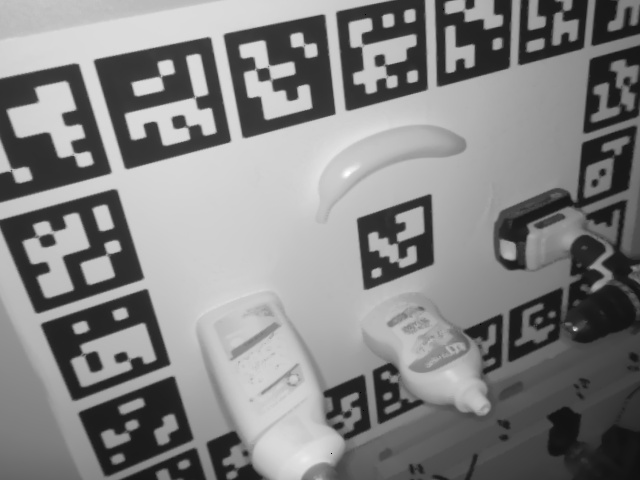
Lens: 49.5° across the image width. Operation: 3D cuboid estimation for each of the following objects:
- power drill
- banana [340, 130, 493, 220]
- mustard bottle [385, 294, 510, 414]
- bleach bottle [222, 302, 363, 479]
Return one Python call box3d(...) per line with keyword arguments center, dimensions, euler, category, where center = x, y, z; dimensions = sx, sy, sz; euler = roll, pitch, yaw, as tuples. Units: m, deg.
box3d(center=(0.332, 0.047, 0.790), dimensions=(0.186, 0.186, 0.057), euler=(-26, 121, -17), category="power drill")
box3d(center=(0.099, -0.076, 0.738), dimensions=(0.199, 0.038, 0.074), euler=(-25, 119, -17), category="banana")
box3d(center=(0.155, 0.135, 0.782), dimensions=(0.097, 0.191, 0.058), euler=(-25, 121, -10), category="mustard bottle")
box3d(center=(-0.019, 0.152, 0.670), dimensions=(0.104, 0.250, 0.067), euler=(-11, 117, -19), category="bleach bottle")
